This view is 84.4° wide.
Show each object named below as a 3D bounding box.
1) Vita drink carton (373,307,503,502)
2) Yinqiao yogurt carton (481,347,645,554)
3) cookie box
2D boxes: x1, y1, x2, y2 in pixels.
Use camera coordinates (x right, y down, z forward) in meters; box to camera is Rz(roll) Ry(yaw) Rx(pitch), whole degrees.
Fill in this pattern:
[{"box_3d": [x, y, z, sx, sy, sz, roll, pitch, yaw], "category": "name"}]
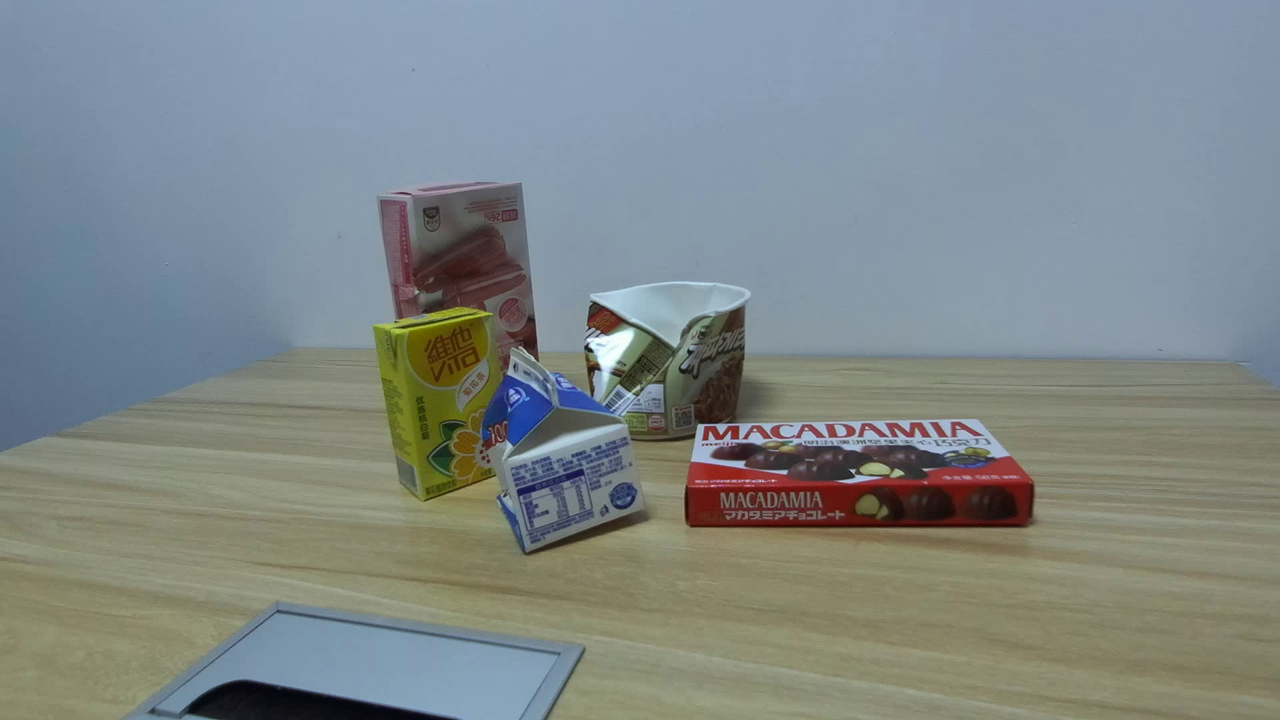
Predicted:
[{"box_3d": [-0.127, 0.025, 0.460, 0.067, 0.109, 0.043, -17, 22, -38], "category": "Vita drink carton"}, {"box_3d": [-0.050, 0.044, 0.401, 0.071, 0.094, 0.077, -16, 17, -20], "category": "Yinqiao yogurt carton"}, {"box_3d": [-0.133, -0.037, 0.535, 0.048, 0.187, 0.105, 8, 19, 39], "category": "cookie box"}]
